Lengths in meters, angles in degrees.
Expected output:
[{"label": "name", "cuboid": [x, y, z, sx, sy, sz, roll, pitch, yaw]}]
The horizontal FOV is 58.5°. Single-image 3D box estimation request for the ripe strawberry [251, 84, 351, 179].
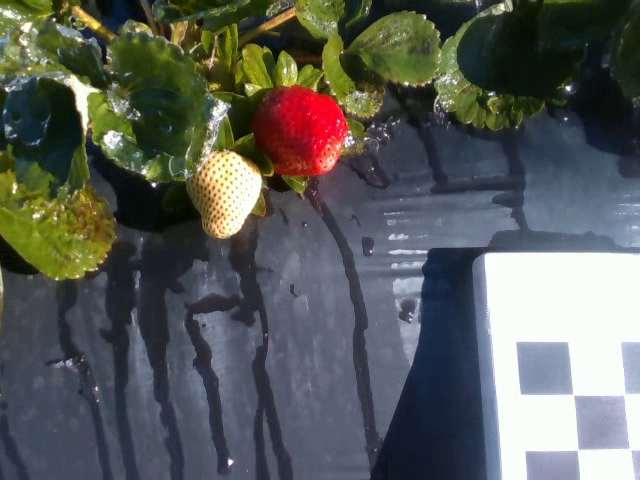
[{"label": "ripe strawberry", "cuboid": [-0.004, -0.042, 0.254, 0.043, 0.046, 0.061, -14, 39, -4]}]
